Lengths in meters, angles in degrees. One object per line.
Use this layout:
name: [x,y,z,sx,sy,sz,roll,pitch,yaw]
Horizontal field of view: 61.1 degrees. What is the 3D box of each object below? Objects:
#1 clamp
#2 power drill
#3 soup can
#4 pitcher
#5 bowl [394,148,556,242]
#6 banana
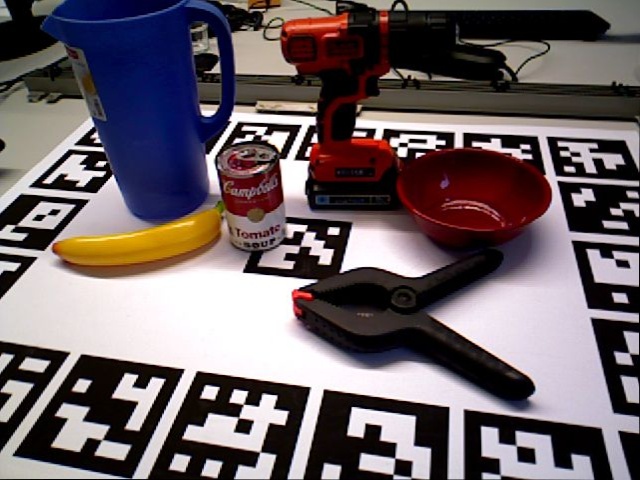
clamp: [0.079,0.052,0.475,0.203,0.037,0.162,1,45,8]
power drill: [0.057,-0.156,0.584,0.184,0.191,0.056,1,41,5]
soup can: [-0.070,-0.052,0.574,0.067,0.104,0.067,-2,32,1]
pitcher: [-0.184,-0.154,0.593,0.187,0.247,0.132,-12,38,-9]
bowl: [0.160,-0.048,0.579,0.161,0.056,0.159,-4,42,2]
banana: [-0.198,-0.001,0.580,0.195,0.039,0.073,-12,32,-11]
